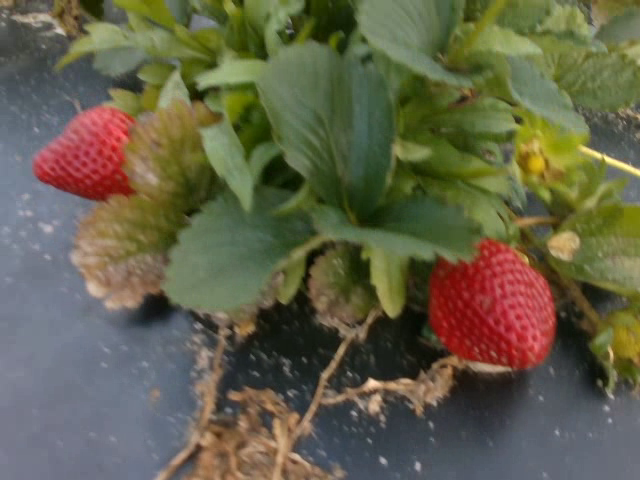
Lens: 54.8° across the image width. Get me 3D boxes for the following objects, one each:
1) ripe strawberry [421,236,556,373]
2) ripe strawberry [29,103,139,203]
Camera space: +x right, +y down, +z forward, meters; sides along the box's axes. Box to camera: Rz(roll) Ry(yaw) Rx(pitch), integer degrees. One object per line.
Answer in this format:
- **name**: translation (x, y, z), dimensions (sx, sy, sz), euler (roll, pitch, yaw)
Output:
- **ripe strawberry**: translation (0.057, 0.023, 0.198), dimensions (0.043, 0.047, 0.046), euler (-28, 32, 2)
- **ripe strawberry**: translation (-0.089, -0.031, 0.246), dimensions (0.050, 0.043, 0.043), euler (-27, 58, -27)
